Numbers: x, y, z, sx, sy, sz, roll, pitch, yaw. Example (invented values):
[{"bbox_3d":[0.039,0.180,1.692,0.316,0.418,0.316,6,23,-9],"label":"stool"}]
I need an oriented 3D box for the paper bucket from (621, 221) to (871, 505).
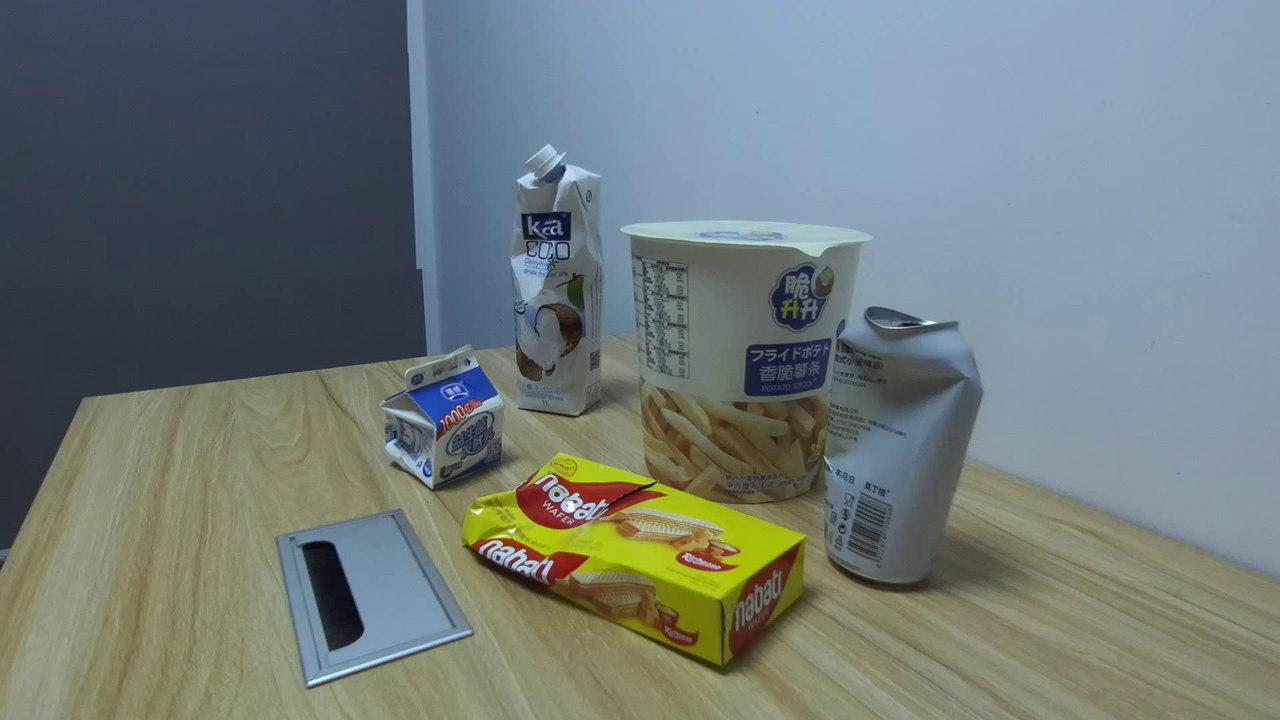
[{"bbox_3d":[0.079,-0.006,0.565,0.198,0.194,0.198,1,16,0],"label":"paper bucket"}]

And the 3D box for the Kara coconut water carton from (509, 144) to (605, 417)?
[{"bbox_3d":[-0.082,-0.076,0.691,0.083,0.255,0.079,11,20,31],"label":"Kara coconut water carton"}]

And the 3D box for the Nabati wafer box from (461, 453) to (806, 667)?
[{"bbox_3d":[-0.014,0.111,0.432,0.203,0.042,0.107,12,18,37],"label":"Nabati wafer box"}]

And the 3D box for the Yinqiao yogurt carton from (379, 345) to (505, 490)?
[{"bbox_3d":[-0.163,0.040,0.570,0.080,0.097,0.075,19,24,30],"label":"Yinqiao yogurt carton"}]
